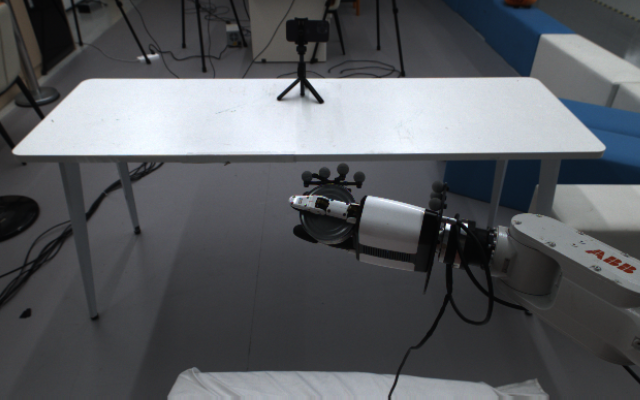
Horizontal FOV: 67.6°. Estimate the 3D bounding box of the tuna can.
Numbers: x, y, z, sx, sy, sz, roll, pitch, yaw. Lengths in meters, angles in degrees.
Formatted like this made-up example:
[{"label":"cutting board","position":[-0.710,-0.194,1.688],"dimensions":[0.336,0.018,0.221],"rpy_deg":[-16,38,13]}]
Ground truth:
[{"label":"tuna can","position":[0.016,0.022,0.711],"dimensions":[0.085,0.034,0.085],"rpy_deg":[-3,73,10]}]
